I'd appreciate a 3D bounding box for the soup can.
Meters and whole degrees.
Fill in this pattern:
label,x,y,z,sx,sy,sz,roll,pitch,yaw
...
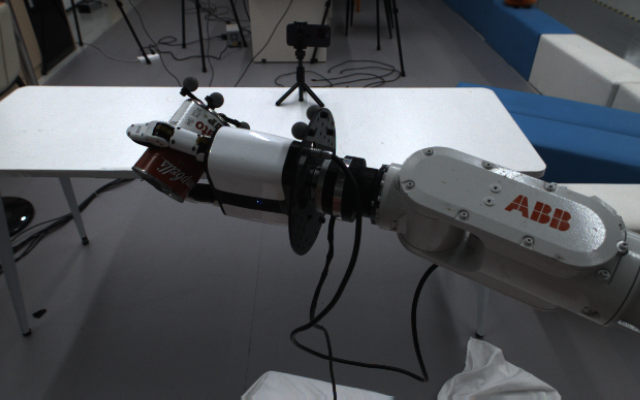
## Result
label,x,y,z,sx,sy,sz,roll,pitch,yaw
soup can,-0.155,-0.055,0.555,0.067,0.067,0.101,24,73,29
